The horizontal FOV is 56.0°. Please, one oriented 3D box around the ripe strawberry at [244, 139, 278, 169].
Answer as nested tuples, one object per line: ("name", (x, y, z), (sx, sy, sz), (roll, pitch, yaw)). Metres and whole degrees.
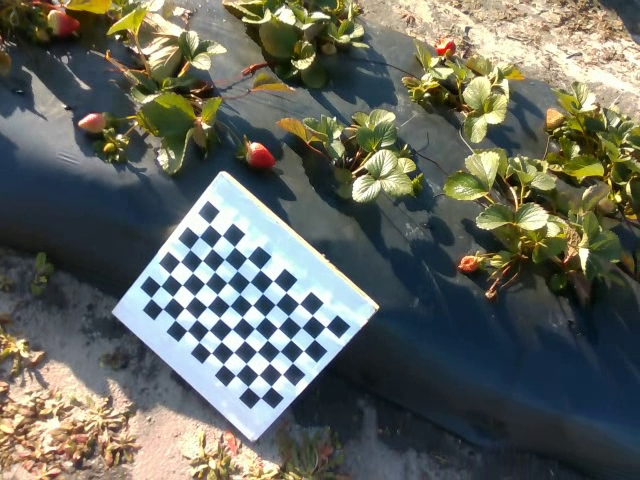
("ripe strawberry", (-0.092, -0.133, 0.945), (0.063, 0.045, 0.043), (24, 12, 6))
